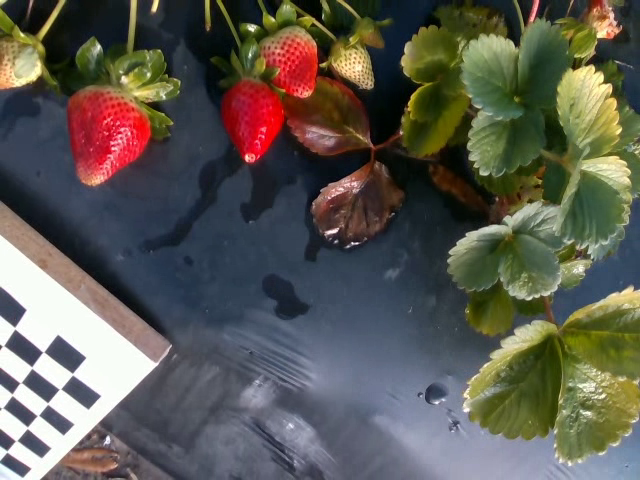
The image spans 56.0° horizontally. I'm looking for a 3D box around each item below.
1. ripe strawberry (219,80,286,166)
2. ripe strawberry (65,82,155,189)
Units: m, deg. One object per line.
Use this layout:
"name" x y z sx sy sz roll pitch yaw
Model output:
"ripe strawberry" -0.044 -0.069 0.360 0.044 0.055 0.041 -13 -28 28
"ripe strawberry" -0.128 -0.059 0.350 0.050 0.065 0.050 10 -23 18
